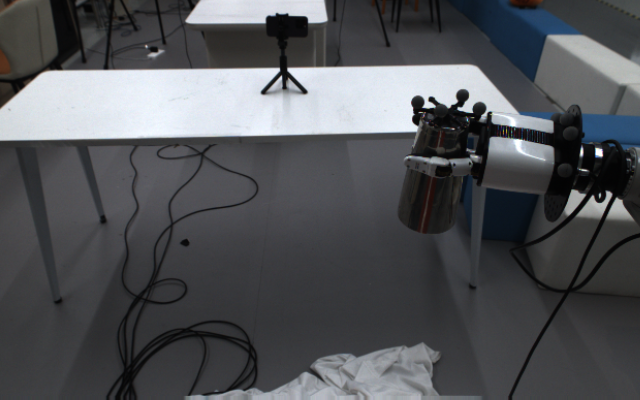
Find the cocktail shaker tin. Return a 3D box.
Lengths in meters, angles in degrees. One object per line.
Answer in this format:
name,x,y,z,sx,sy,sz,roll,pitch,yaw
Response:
cocktail shaker tin,0.172,-0.049,0.708,0.093,0.170,0.093,1,39,-1
